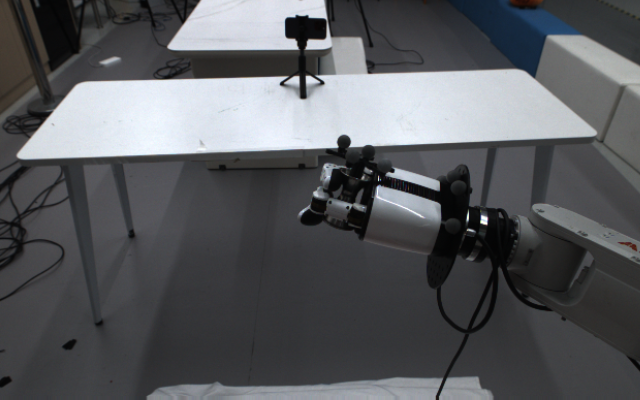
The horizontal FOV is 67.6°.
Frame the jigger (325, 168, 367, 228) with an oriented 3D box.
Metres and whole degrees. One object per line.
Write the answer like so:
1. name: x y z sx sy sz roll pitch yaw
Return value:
1. jigger: 0.035 -0.001 0.607 0.043 0.071 0.043 18 17 -6
